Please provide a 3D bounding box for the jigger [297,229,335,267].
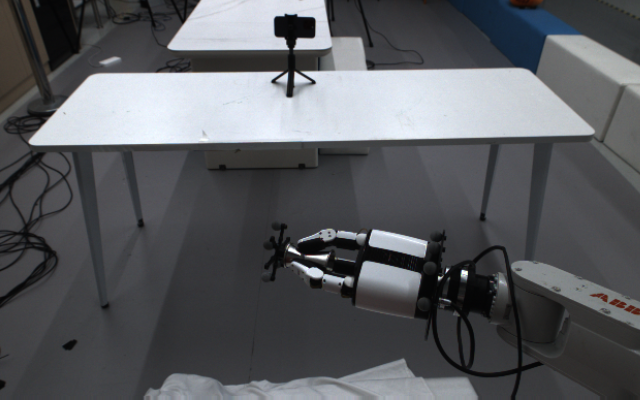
[{"bbox_3d":[-0.010,0.086,0.725,0.071,0.043,0.043,10,36,15],"label":"jigger"}]
